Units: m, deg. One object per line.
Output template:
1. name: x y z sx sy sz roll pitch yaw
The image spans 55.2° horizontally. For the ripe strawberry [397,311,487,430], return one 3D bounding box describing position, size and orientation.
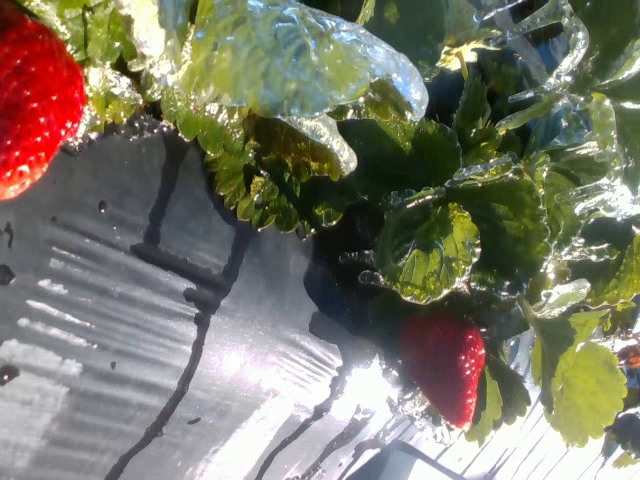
1. ripe strawberry: 0.056 0.057 0.255 0.047 0.053 0.041 -31 -44 28
